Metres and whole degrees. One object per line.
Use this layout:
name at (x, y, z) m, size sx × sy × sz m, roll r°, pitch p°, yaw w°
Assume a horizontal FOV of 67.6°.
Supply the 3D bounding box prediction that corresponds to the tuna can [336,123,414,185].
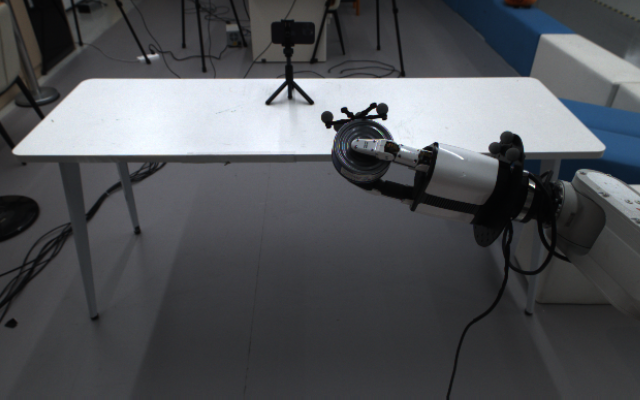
tuna can at (0.064, -0.063, 0.667) m, size 0.085 × 0.034 × 0.085 m, roll 0°, pitch 72°, yaw -1°
